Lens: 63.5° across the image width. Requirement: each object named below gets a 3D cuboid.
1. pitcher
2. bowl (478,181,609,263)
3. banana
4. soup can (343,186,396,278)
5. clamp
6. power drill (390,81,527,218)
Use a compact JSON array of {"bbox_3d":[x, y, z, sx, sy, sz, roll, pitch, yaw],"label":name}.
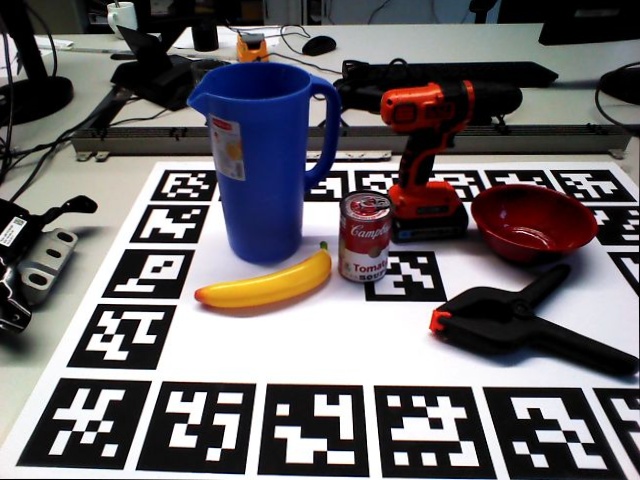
[{"bbox_3d":[-0.058,-0.105,0.665,0.188,0.243,0.133,-16,37,-17],"label":"pitcher"},{"bbox_3d":[0.291,-0.019,0.694,0.162,0.055,0.161,-1,39,1],"label":"bowl"},{"bbox_3d":[-0.062,0.045,0.642,0.197,0.039,0.074,-15,32,-19],"label":"banana"},{"bbox_3d":[0.063,-0.012,0.657,0.068,0.102,0.067,-1,30,0],"label":"soup can"},{"bbox_3d":[0.229,0.080,0.574,0.203,0.037,0.164,-2,42,0],"label":"clamp"},{"bbox_3d":[0.181,-0.121,0.691,0.185,0.187,0.057,-3,38,-3],"label":"power drill"}]
